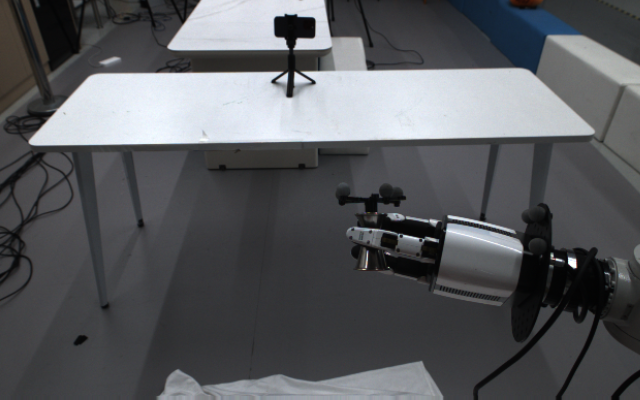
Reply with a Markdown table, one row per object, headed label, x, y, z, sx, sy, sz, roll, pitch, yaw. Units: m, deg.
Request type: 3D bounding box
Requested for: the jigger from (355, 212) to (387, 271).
| label | x | y | z | sx | sy | sz | roll | pitch | yaw |
| --- | --- | --- | --- | --- | --- | --- | --- | --- | --- |
| jigger | 0.061 | 0.050 | 0.589 | 0.043 | 0.071 | 0.043 | 1 | -5 | 0 |
